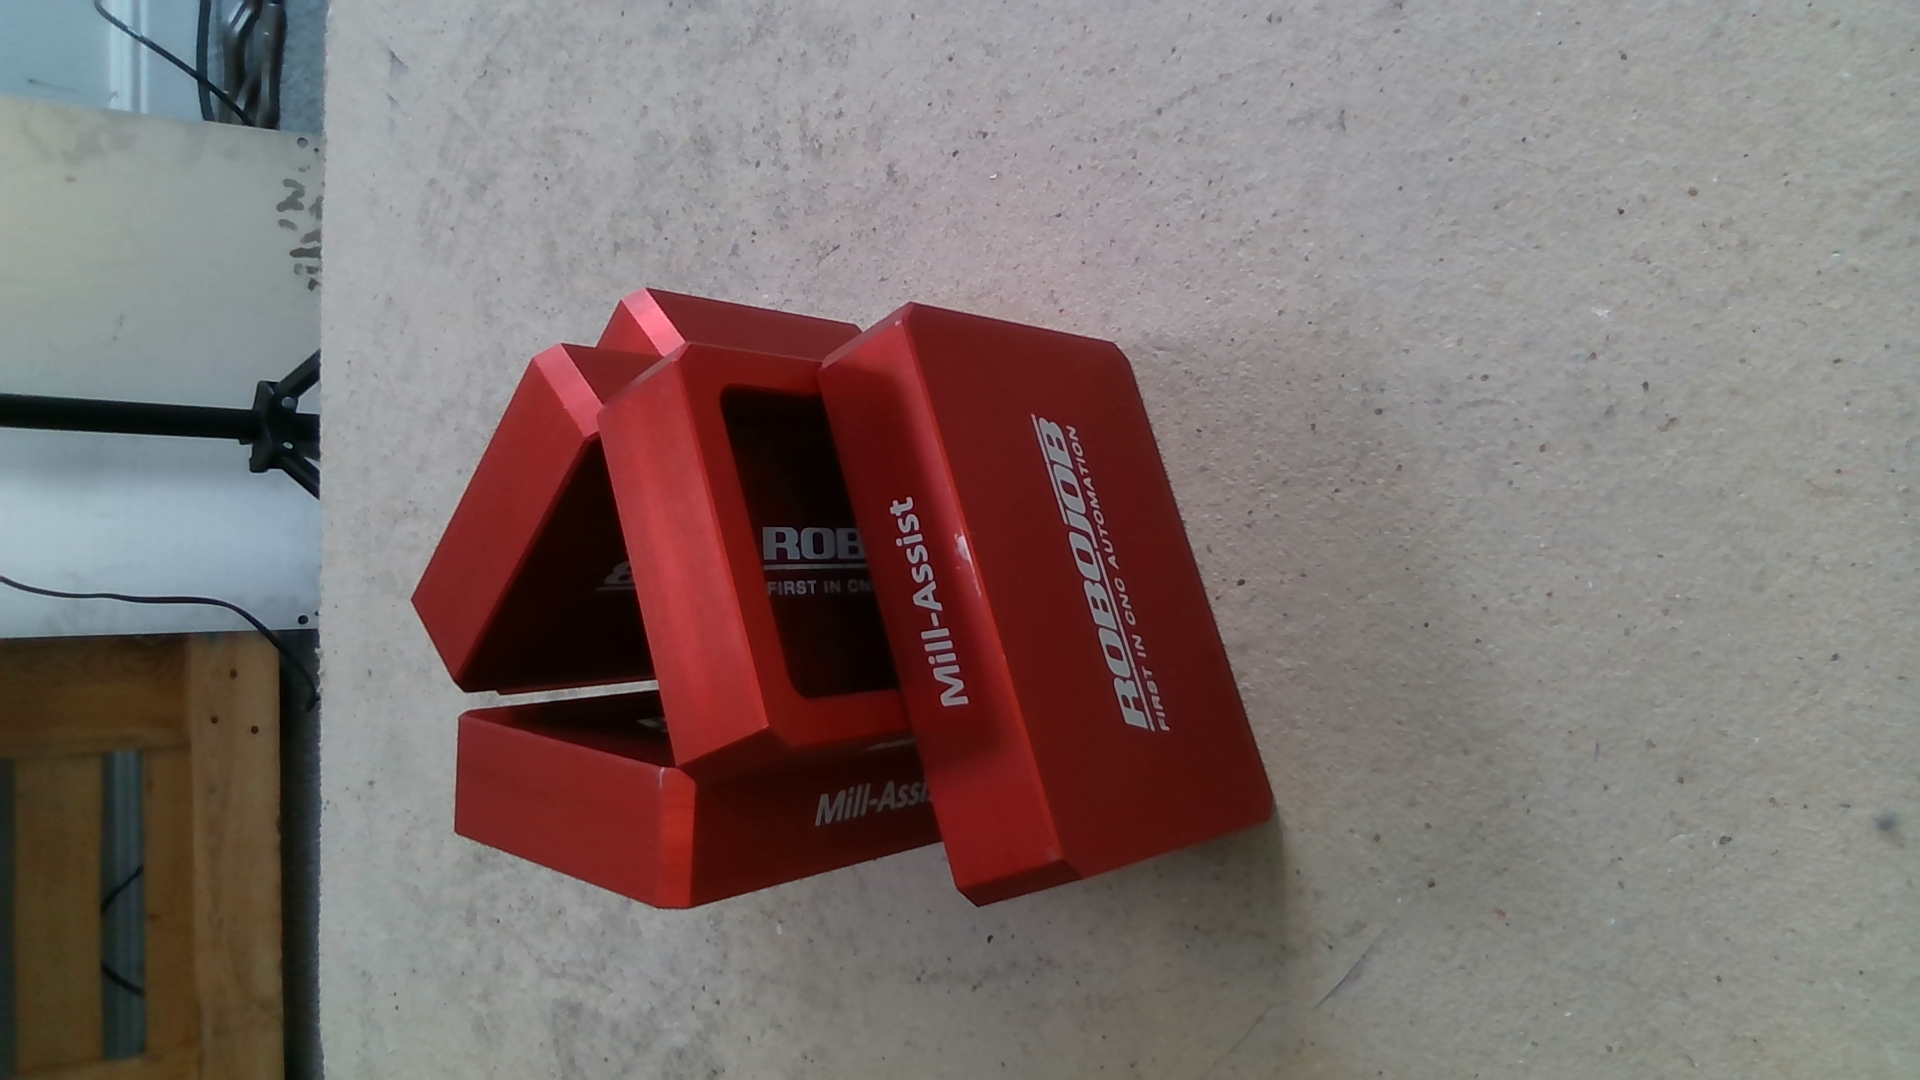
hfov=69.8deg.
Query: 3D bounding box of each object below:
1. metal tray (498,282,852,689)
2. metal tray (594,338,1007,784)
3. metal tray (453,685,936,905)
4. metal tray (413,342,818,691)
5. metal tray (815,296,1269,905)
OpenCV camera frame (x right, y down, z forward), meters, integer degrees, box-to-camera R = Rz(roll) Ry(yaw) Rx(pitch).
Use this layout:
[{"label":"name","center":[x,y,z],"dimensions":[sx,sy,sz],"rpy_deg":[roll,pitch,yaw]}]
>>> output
[{"label":"metal tray","center":[-0.086,-0.012,0.419],"dimensions":[0.030,0.090,0.130],"rpy_deg":[52,121,28]},{"label":"metal tray","center":[-0.018,0.004,0.336],"dimensions":[0.030,0.130,0.090],"rpy_deg":[-26,74,38]},{"label":"metal tray","center":[-0.053,0.060,0.367],"dimensions":[0.090,0.130,0.030],"rpy_deg":[6,94,40]},{"label":"metal tray","center":[-0.071,-0.004,0.382],"dimensions":[0.030,0.130,0.090],"rpy_deg":[51,120,27]},{"label":"metal tray","center":[0.022,0.012,0.329],"dimensions":[0.030,0.090,0.130],"rpy_deg":[-25,75,37]}]
